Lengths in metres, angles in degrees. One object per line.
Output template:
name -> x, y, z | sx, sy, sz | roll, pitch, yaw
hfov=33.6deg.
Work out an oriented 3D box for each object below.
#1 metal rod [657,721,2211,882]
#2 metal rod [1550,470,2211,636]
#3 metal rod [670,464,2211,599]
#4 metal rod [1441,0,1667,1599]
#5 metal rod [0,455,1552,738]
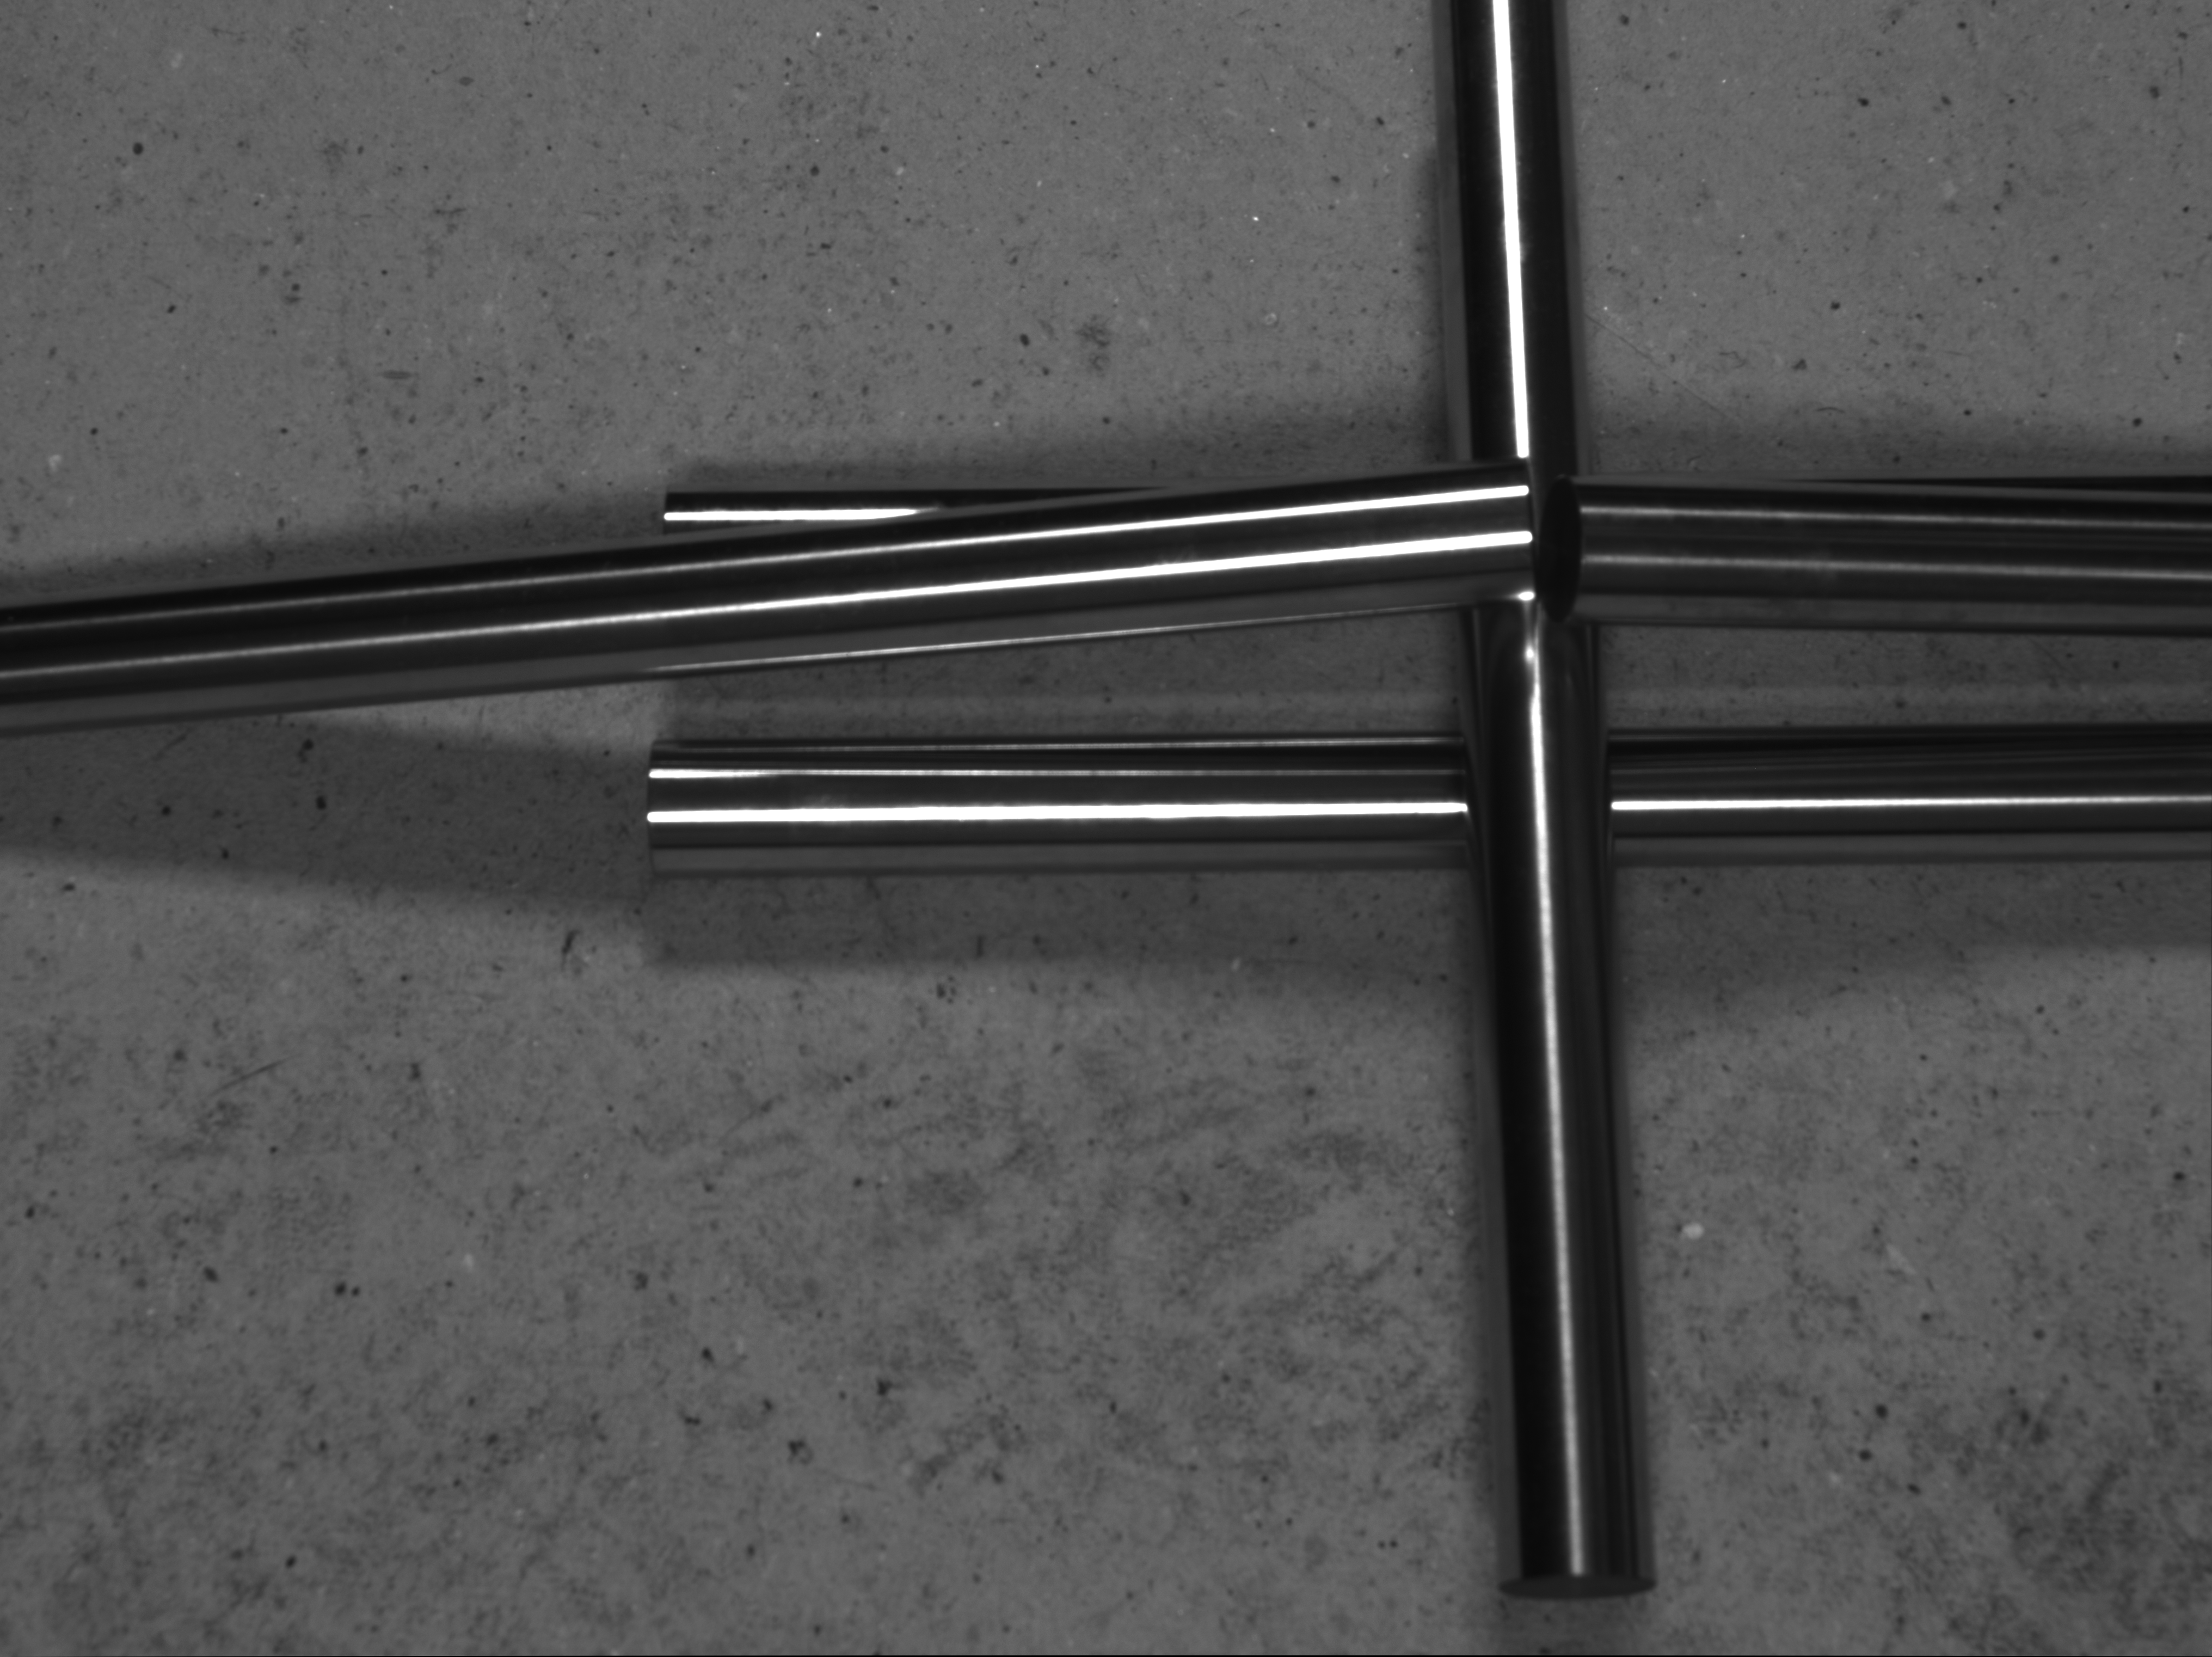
metal rod -> 0.072, -0.005, 0.646 | 0.300, 0.025, 0.025 | -1, 70, 0
metal rod -> 0.224, -0.045, 0.635 | 0.300, 0.025, 0.025 | 1, 69, -10
metal rod -> 0.073, -0.052, 0.664 | 0.300, 0.025, 0.025 | -1, 70, 0
metal rod -> 0.075, -0.022, 0.626 | 0.025, 0.025, 0.300 | 0, 70, 0
metal rod -> -0.074, -0.038, 0.632 | 0.300, 0.025, 0.025 | -4, 70, 8
